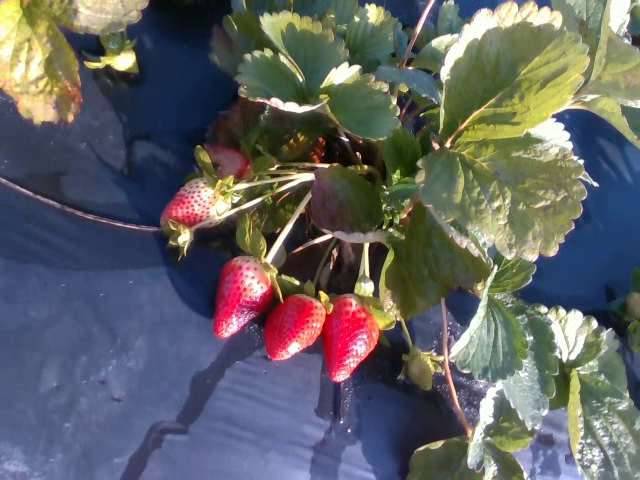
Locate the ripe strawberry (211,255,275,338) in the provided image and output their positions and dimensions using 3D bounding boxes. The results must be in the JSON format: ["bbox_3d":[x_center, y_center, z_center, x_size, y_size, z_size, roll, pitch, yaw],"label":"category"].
[{"bbox_3d":[-0.040,0.029,0.288,0.031,0.046,0.023,27,-4,-8],"label":"ripe strawberry"}]

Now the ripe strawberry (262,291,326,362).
[{"bbox_3d":[-0.014,0.043,0.286,0.037,0.030,0.039,-45,12,35],"label":"ripe strawberry"}]

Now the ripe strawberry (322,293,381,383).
[{"bbox_3d":[0.011,0.055,0.294,0.035,0.041,0.034,23,-39,-7],"label":"ripe strawberry"}]
